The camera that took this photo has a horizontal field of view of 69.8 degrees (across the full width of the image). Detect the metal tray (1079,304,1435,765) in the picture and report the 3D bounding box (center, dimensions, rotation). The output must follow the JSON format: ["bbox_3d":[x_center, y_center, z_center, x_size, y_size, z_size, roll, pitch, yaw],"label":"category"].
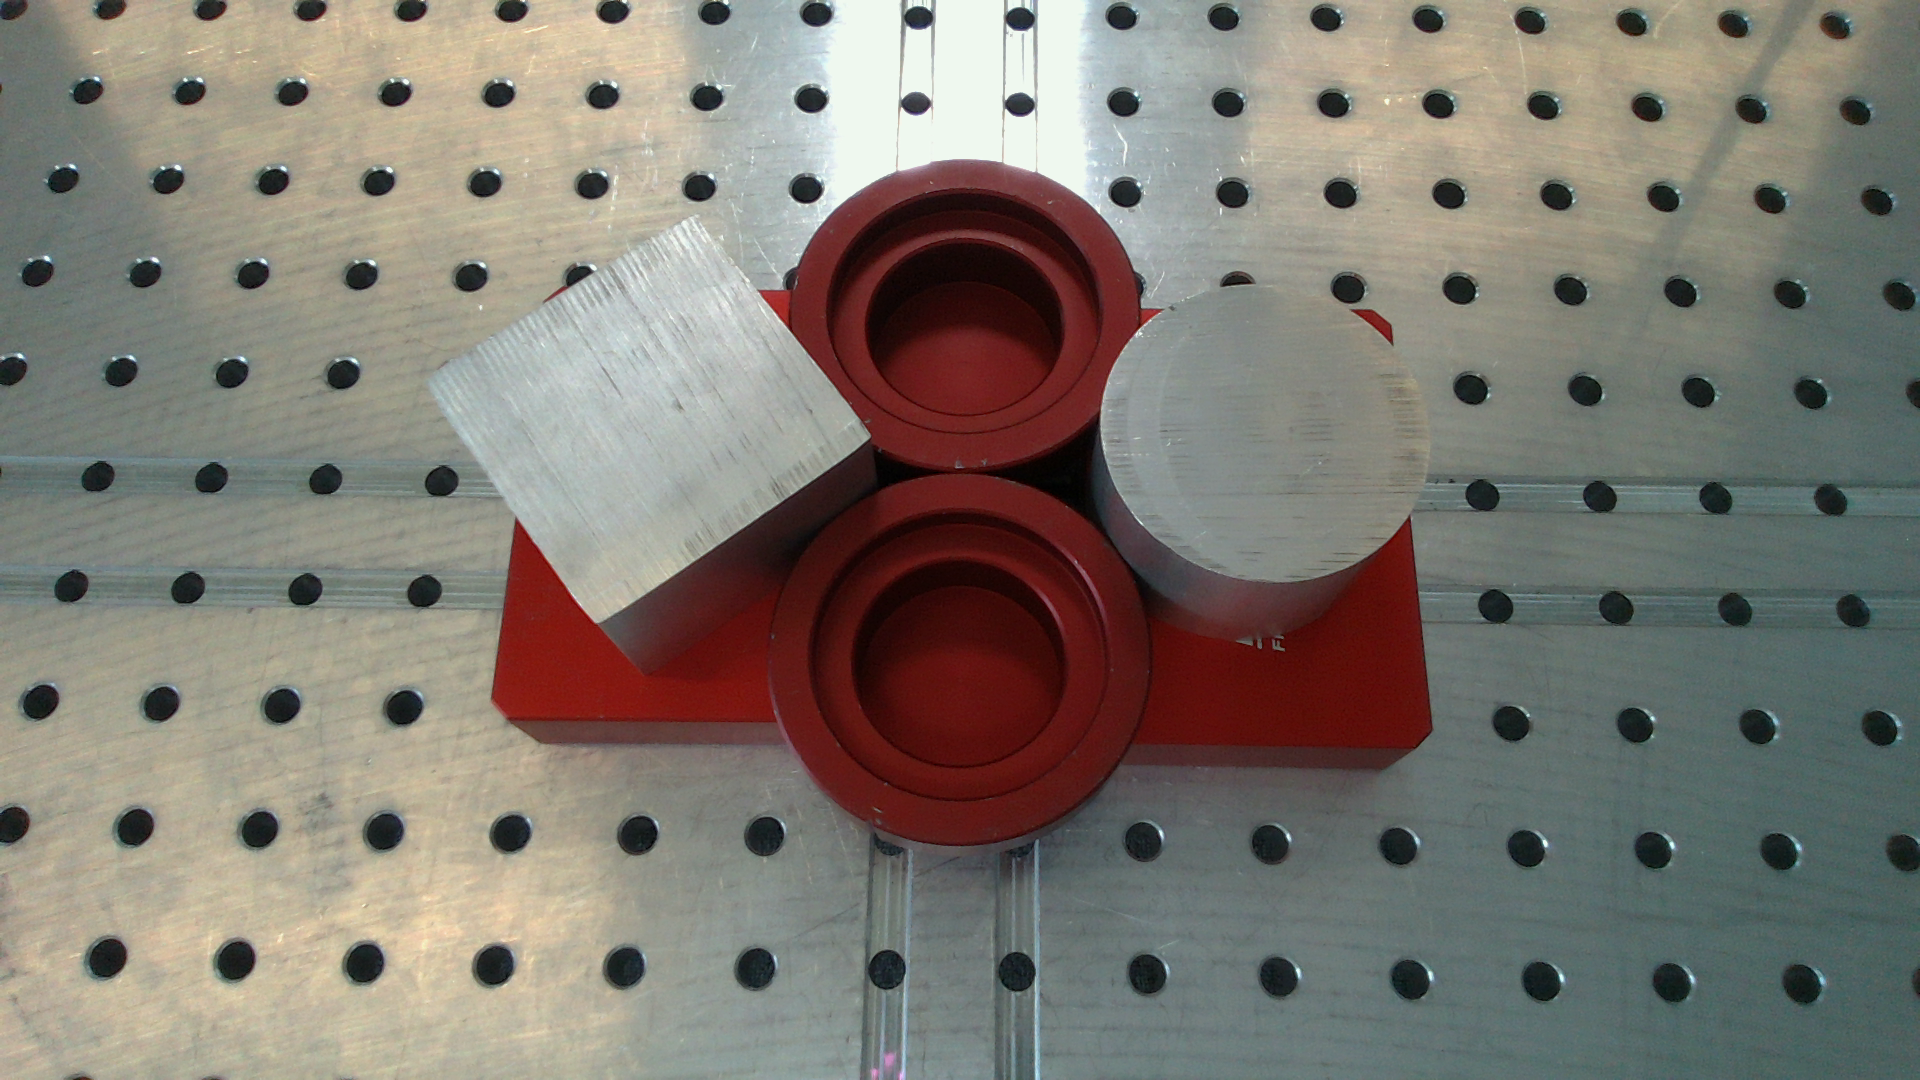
[{"bbox_3d":[0.080,-0.003,0.393,0.090,0.030,0.130,1,70,0],"label":"metal tray"}]

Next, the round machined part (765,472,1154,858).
[{"bbox_3d":[0.000,0.035,0.365,0.098,0.042,0.098,0,70,0],"label":"round machined part"}]

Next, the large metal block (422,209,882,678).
[{"bbox_3d":[-0.077,-0.025,0.360,0.080,0.050,0.080,-35,74,-12],"label":"large metal block"}]

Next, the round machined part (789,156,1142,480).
[{"bbox_3d":[0.002,-0.058,0.399,0.098,0.042,0.098,0,70,0],"label":"round machined part"}]

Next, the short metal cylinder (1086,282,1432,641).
[{"bbox_3d":[0.075,-0.019,0.358,0.080,0.050,0.080,0,70,0],"label":"short metal cylinder"}]

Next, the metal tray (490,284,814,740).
[{"bbox_3d":[-0.078,-0.009,0.397,0.090,0.030,0.130,1,70,-1],"label":"metal tray"}]
